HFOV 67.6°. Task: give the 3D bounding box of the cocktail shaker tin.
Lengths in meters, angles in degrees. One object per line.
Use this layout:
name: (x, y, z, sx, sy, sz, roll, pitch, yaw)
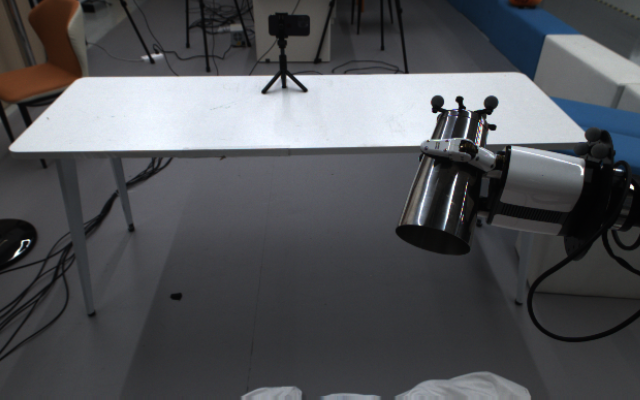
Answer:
cocktail shaker tin: (0.163, -0.027, 0.613, 0.093, 0.093, 0.170, 14, 70, 16)
